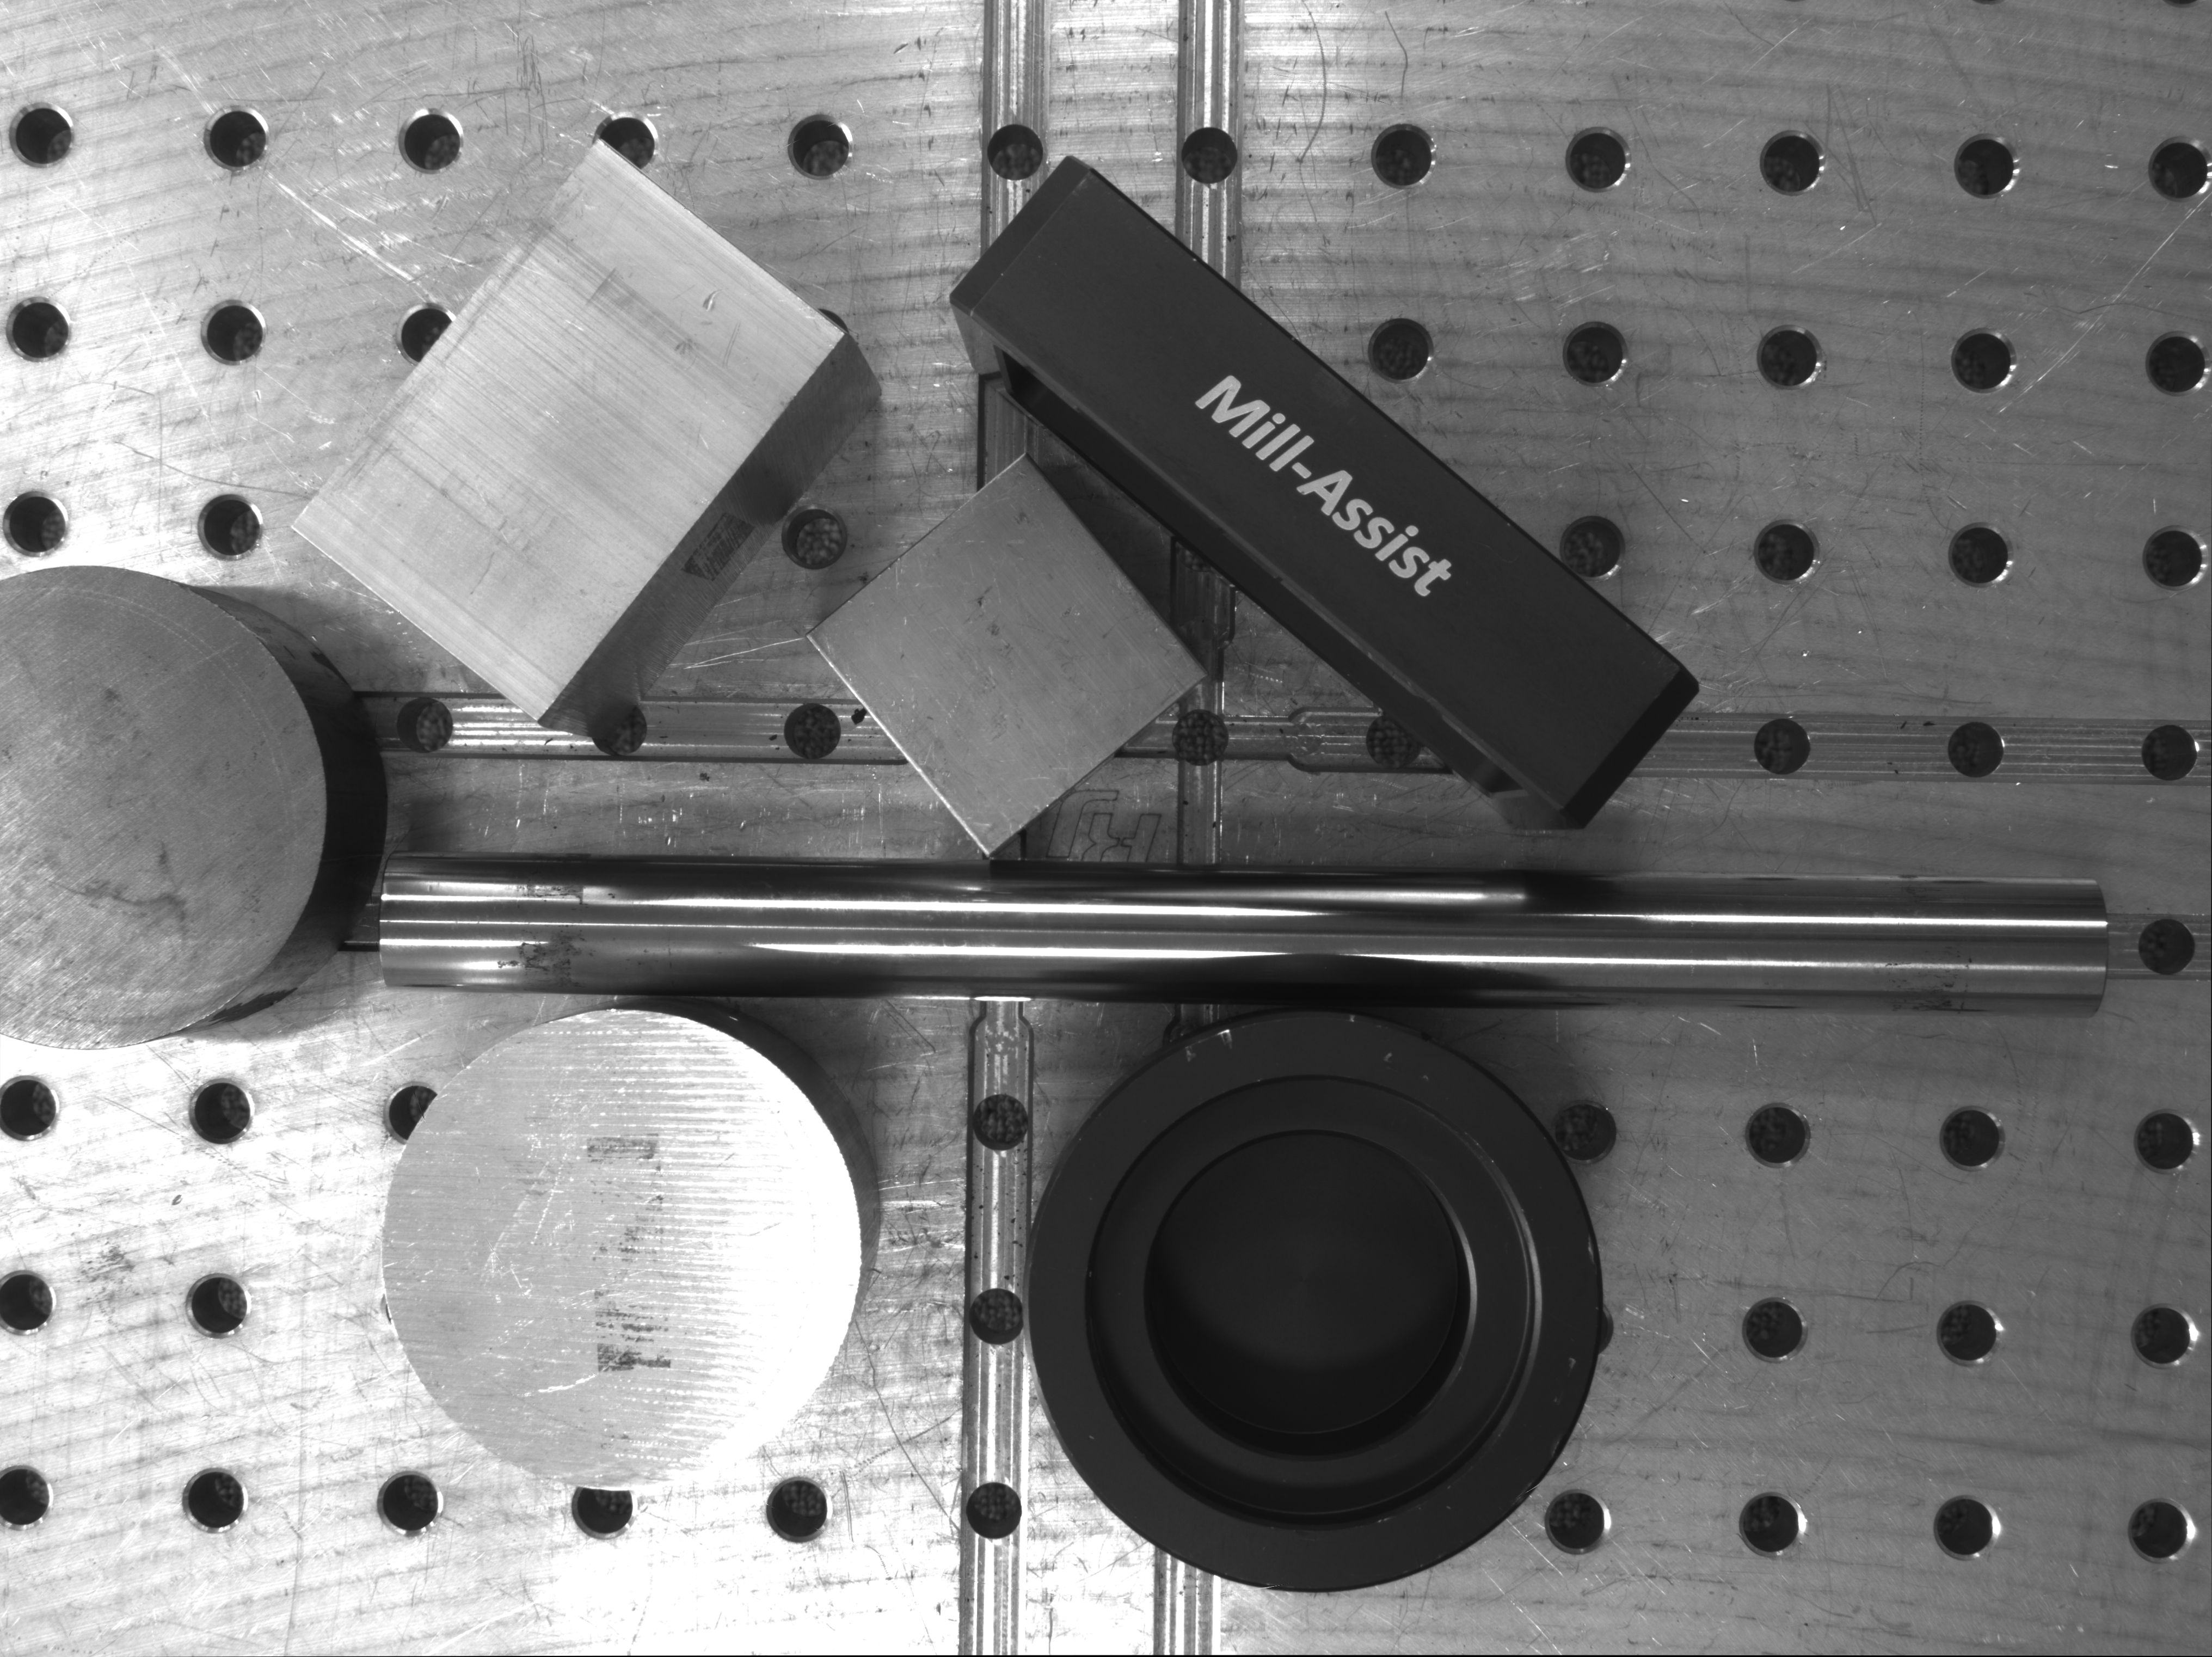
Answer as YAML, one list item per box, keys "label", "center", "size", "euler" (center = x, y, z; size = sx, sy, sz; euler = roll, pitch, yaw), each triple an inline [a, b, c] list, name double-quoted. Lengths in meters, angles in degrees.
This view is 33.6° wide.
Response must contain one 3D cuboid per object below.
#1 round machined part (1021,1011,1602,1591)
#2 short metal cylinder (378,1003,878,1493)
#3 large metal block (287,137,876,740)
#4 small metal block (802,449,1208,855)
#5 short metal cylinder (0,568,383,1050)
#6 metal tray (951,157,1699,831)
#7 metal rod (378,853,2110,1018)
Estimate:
- label: "round machined part"
  center: [0.035, 0.080, 0.639]
  size: [0.098, 0.042, 0.098]
  euler: [0, 90, 0]
- label: "short metal cylinder"
  center: [-0.081, 0.070, 0.634]
  size: [0.080, 0.050, 0.080]
  euler: [0, 90, 0]
- label: "large metal block"
  center: [-0.085, -0.063, 0.620]
  size: [0.050, 0.080, 0.080]
  euler: [38, 90, 0]
- label: "small metal block"
  center: [-0.017, -0.031, 0.648]
  size: [0.050, 0.025, 0.050]
  euler: [-39, 90, 0]
- label: "short metal cylinder"
  center: [-0.170, -0.003, 0.634]
  size: [0.080, 0.050, 0.080]
  euler: [0, 90, 0]
- label: "metal tray"
  center: [0.035, -0.052, 0.615]
  size: [0.130, 0.090, 0.030]
  euler: [40, 90, 0]
- label: "metal rod"
  center: [0.024, 0.019, 0.647]
  size: [0.300, 0.025, 0.025]
  euler: [1, 90, 0]
